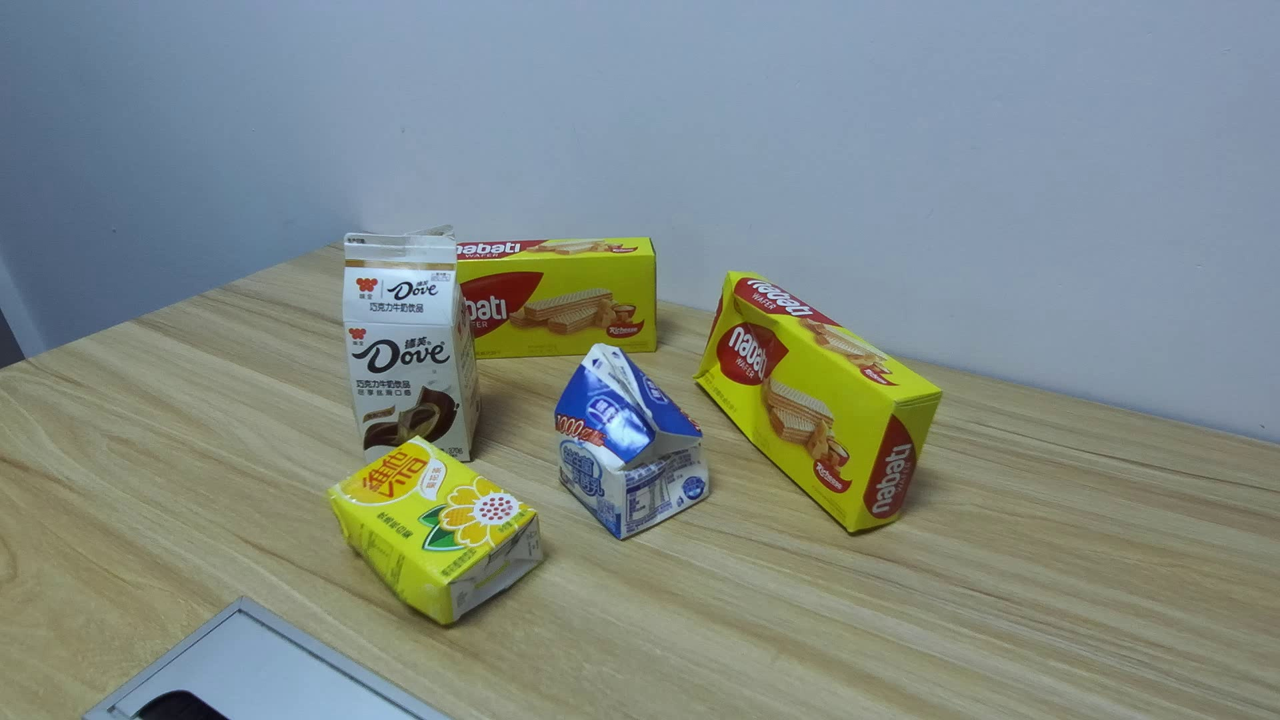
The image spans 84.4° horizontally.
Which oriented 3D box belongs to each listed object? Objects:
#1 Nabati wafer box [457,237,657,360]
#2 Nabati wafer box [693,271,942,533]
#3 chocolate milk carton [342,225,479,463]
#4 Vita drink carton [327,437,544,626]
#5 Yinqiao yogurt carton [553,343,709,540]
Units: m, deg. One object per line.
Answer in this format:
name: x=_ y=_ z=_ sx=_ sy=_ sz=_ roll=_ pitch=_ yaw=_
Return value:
Nabati wafer box: x=-0.085 y=-0.052 z=0.611 sx=0.203 sy=0.093 sz=0.042 roll=-2 pitch=29 yaw=0
Nabati wafer box: x=0.105 y=0.017 z=0.485 sx=0.042 sy=0.096 sz=0.202 roll=-4 pitch=30 yaw=-27
chocolate milk carton: x=-0.156 y=-0.012 z=0.478 sx=0.084 sy=0.155 sz=0.073 roll=-3 pitch=30 yaw=-4
Vita drink carton: x=-0.119 y=0.097 z=0.402 sx=0.108 sy=0.043 sz=0.076 roll=24 pitch=41 yaw=32
Yinqiao yogurt carton: x=-0.007 y=0.042 z=0.442 sx=0.077 sy=0.093 sz=0.083 roll=-20 pitch=35 yaw=-30
